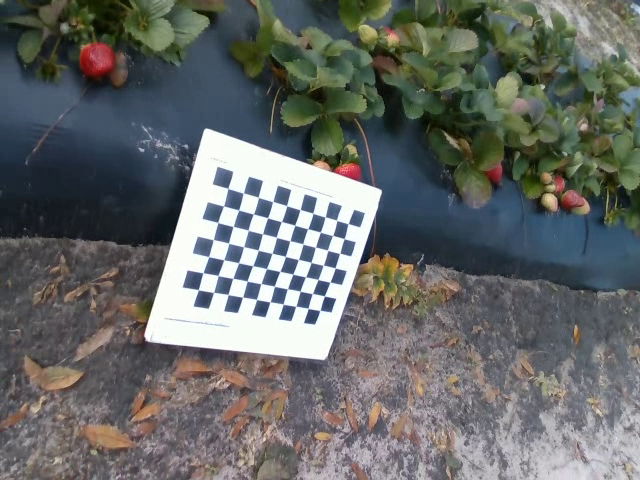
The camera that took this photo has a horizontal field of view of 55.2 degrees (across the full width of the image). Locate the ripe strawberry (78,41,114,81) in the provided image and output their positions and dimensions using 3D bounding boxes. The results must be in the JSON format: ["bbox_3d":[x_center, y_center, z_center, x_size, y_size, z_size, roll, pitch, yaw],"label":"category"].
[{"bbox_3d":[-0.276,-0.221,0.764,0.050,0.049,0.053,6,29,-38],"label":"ripe strawberry"}]
